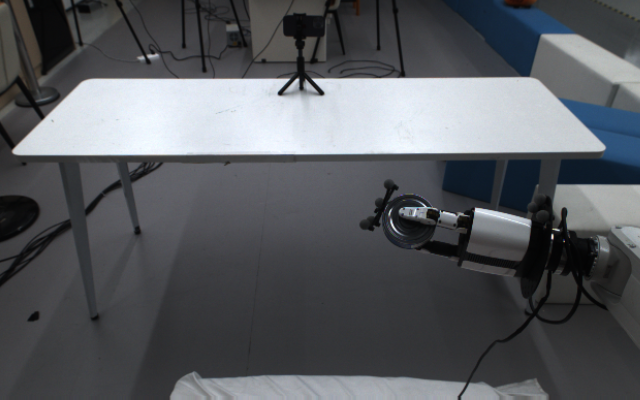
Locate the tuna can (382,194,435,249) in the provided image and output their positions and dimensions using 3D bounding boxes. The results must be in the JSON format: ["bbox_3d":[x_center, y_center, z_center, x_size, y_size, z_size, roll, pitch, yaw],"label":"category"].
[{"bbox_3d":[0.145,0.032,0.775,0.085,0.034,0.085,-2,71,5],"label":"tuna can"}]
